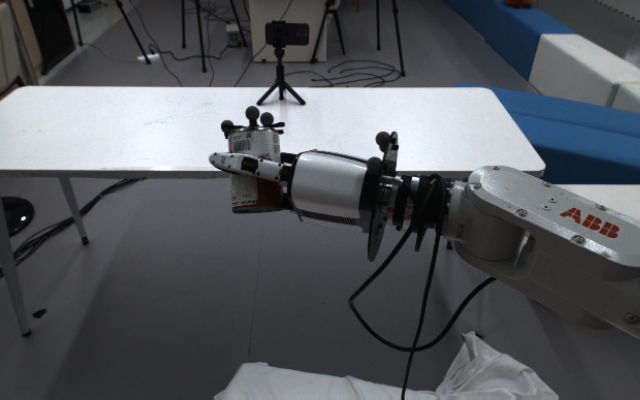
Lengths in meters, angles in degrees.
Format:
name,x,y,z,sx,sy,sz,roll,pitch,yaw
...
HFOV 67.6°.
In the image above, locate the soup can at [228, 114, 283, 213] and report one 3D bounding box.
name,x,y,z,sx,sy,sz,roll,pitch,yaw
soup can,-0.080,-0.035,0.620,0.067,0.101,0.067,-5,-5,0
